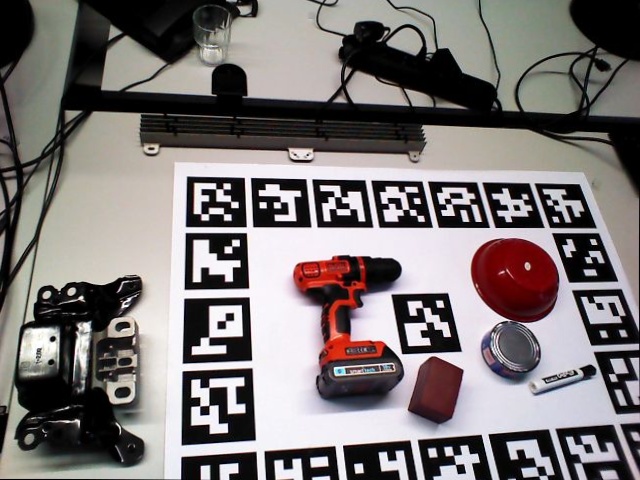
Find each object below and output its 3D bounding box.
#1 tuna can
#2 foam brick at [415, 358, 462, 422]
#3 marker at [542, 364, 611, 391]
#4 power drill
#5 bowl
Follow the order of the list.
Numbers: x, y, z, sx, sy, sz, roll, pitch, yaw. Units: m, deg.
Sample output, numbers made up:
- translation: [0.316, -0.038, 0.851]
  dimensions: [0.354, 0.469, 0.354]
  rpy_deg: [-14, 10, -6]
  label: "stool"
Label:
- translation: [0.317, 0.166, 0.815]
  dimensions: [0.086, 0.034, 0.085]
  rpy_deg: [5, 61, -10]
  label: "tuna can"
- translation: [0.181, 0.218, 0.759]
  dimensions: [0.051, 0.053, 0.077]
  rpy_deg: [22, 61, 0]
  label: "foam brick"
- translation: [0.405, 0.215, 0.811]
  dimensions: [0.121, 0.020, 0.019]
  rpy_deg: [-9, 65, -15]
  label: "marker"
- translation: [0.059, 0.117, 0.787]
  dimensions: [0.184, 0.058, 0.186]
  rpy_deg: [1, 59, -14]
  label: "power drill"
- translation: [0.355, 0.053, 0.884]
  dimensions: [0.162, 0.055, 0.160]
  rpy_deg: [3, 55, -5]
  label: "bowl"
